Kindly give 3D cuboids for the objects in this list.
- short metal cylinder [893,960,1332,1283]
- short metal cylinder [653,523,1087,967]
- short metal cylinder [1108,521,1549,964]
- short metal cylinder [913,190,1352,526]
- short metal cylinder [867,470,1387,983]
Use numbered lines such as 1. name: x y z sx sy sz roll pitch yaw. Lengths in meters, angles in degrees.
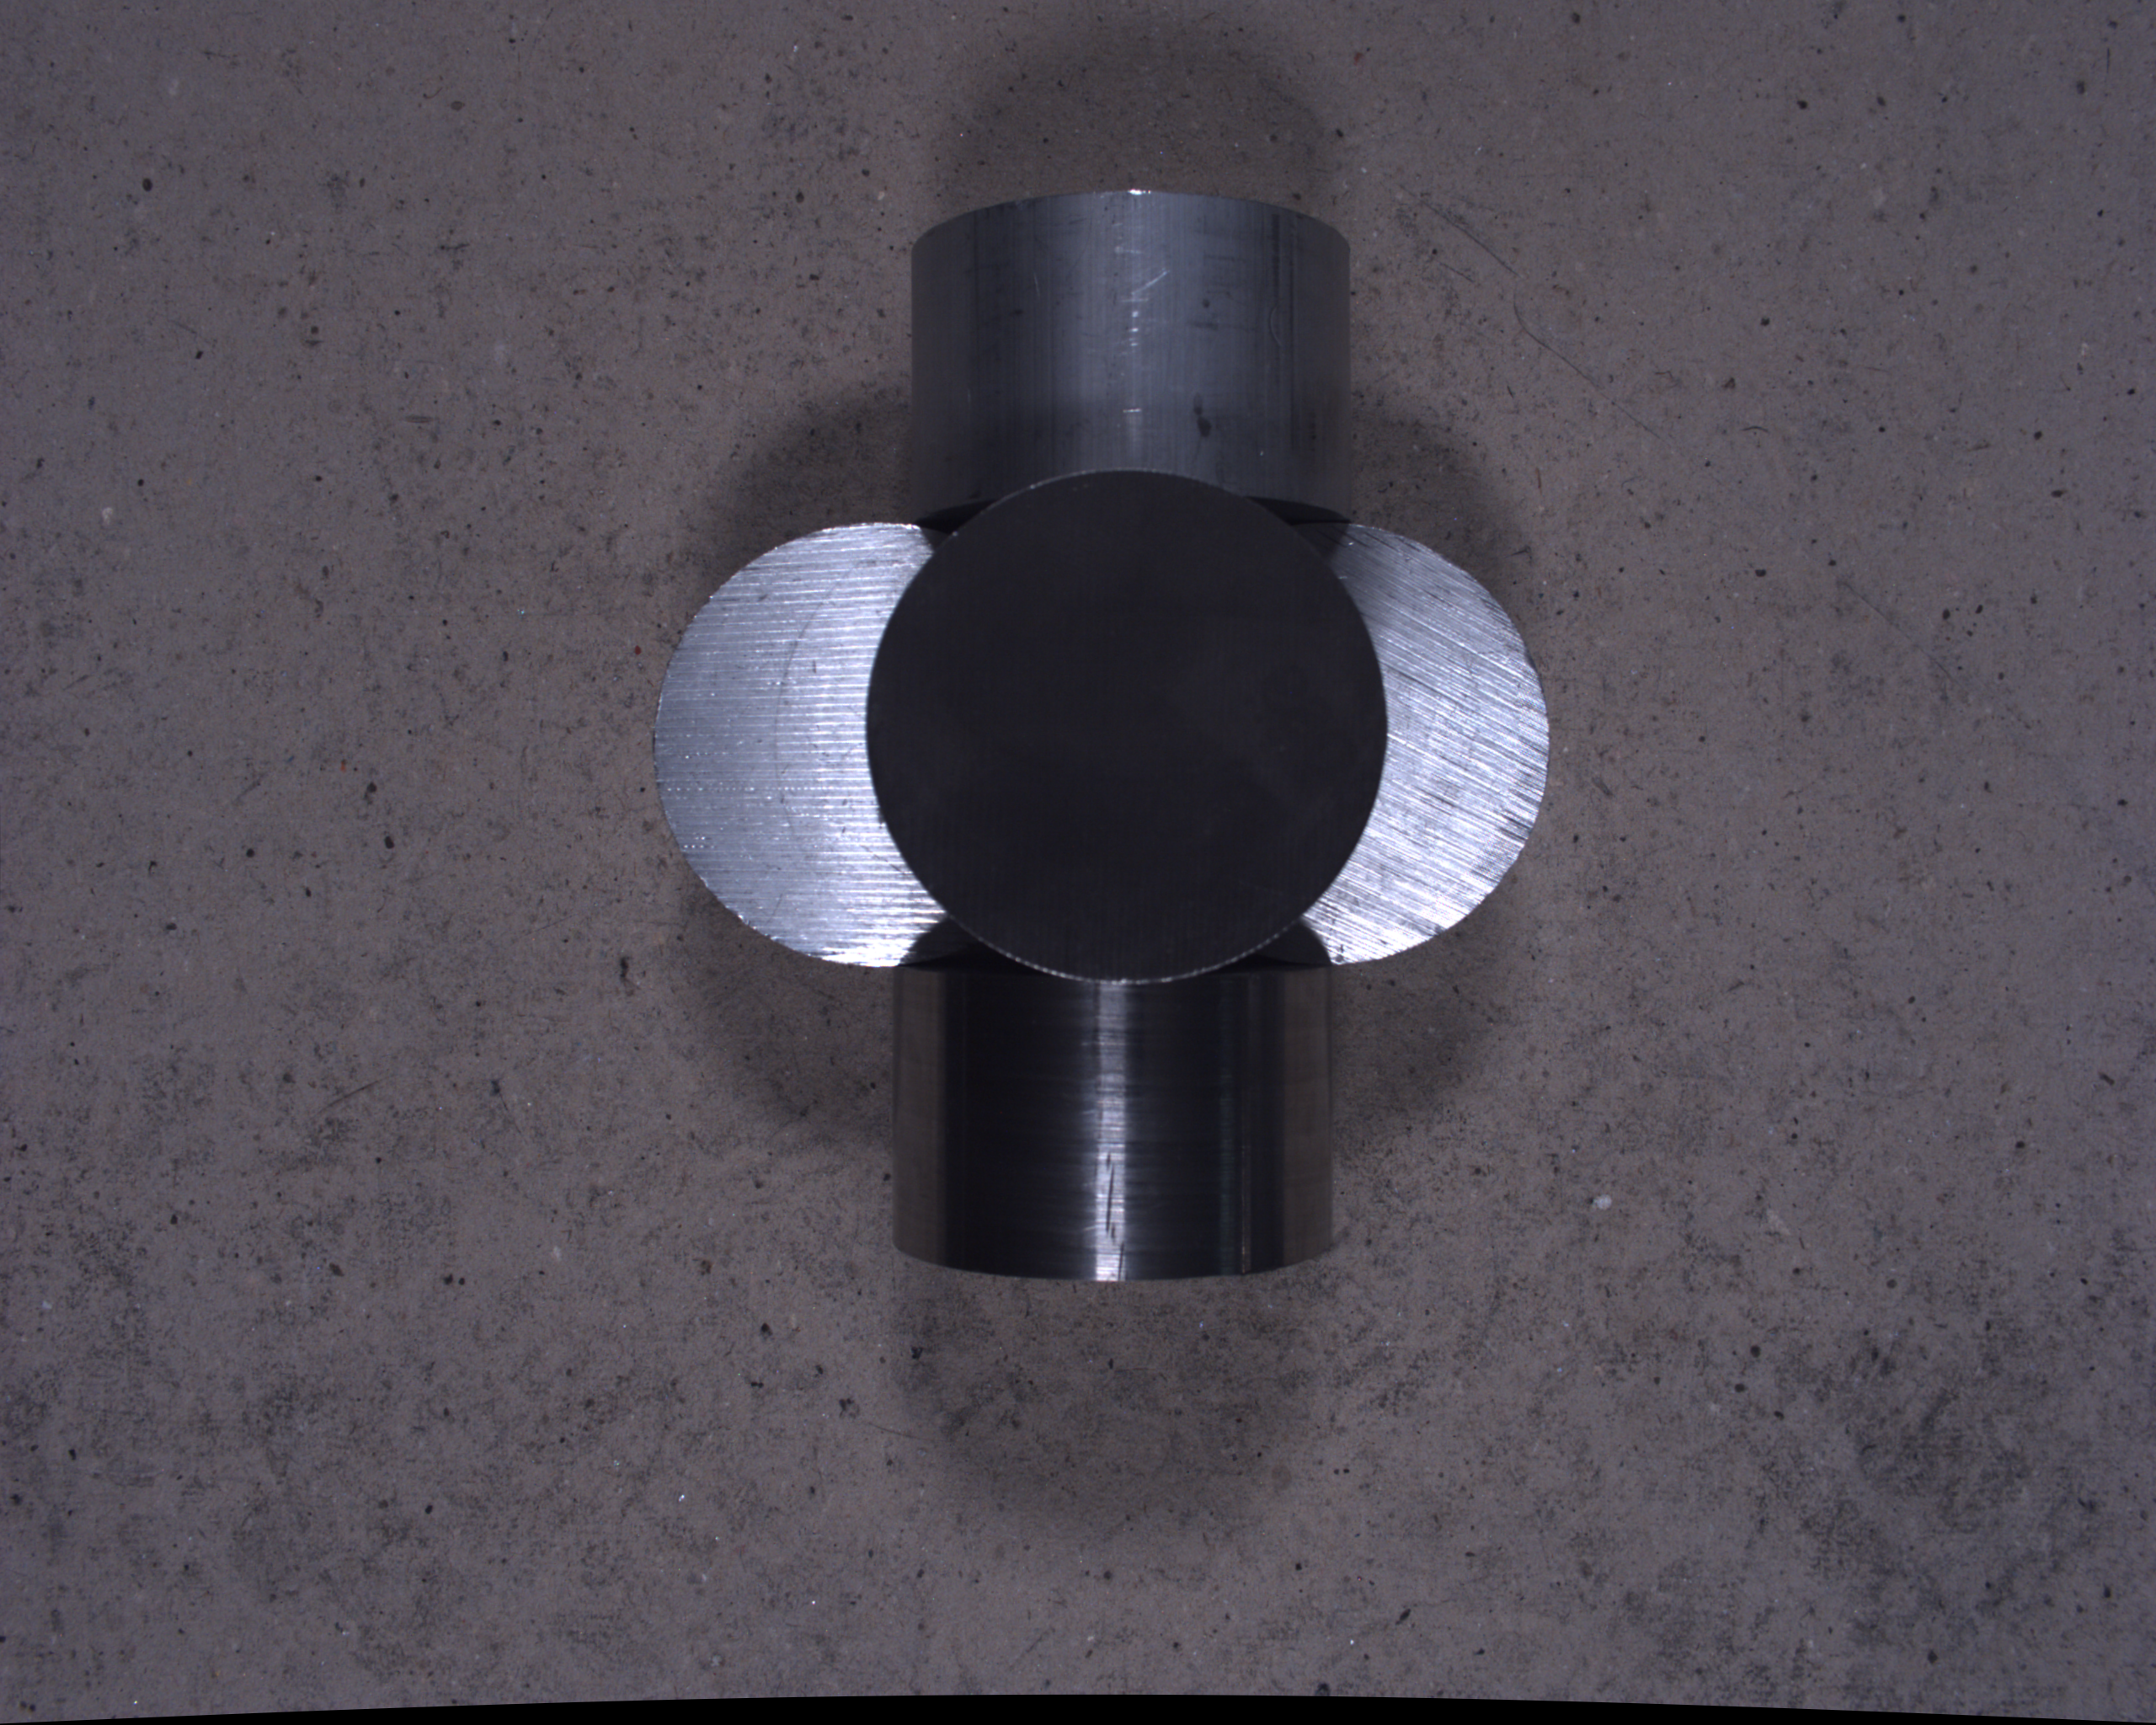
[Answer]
1. short metal cylinder: 0.006 0.044 0.384 0.081 0.080 0.050 0 90 -1
2. short metal cylinder: -0.036 -0.021 0.398 0.081 0.050 0.079 0 90 -1
3. short metal cylinder: 0.044 -0.022 0.399 0.081 0.050 0.079 0 90 -1
4. short metal cylinder: 0.010 -0.086 0.384 0.081 0.080 0.050 0 90 -1
5. short metal cylinder: 0.008 -0.021 0.348 0.081 0.050 0.079 0 90 -1
